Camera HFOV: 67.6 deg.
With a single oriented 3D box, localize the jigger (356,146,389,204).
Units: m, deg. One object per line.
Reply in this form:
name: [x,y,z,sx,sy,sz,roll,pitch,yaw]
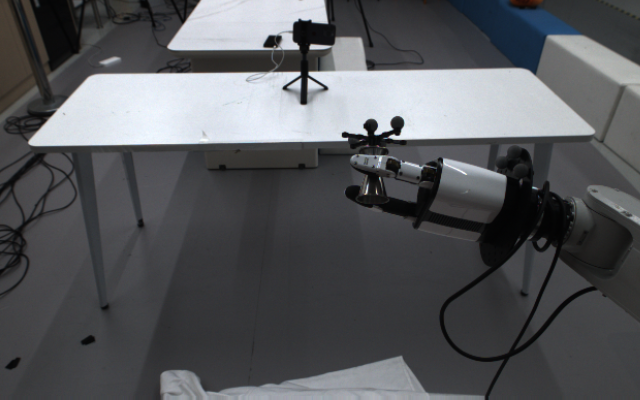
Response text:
jigger: [0.069,-0.033,0.638,0.043,0.043,0.071,3,75,1]
